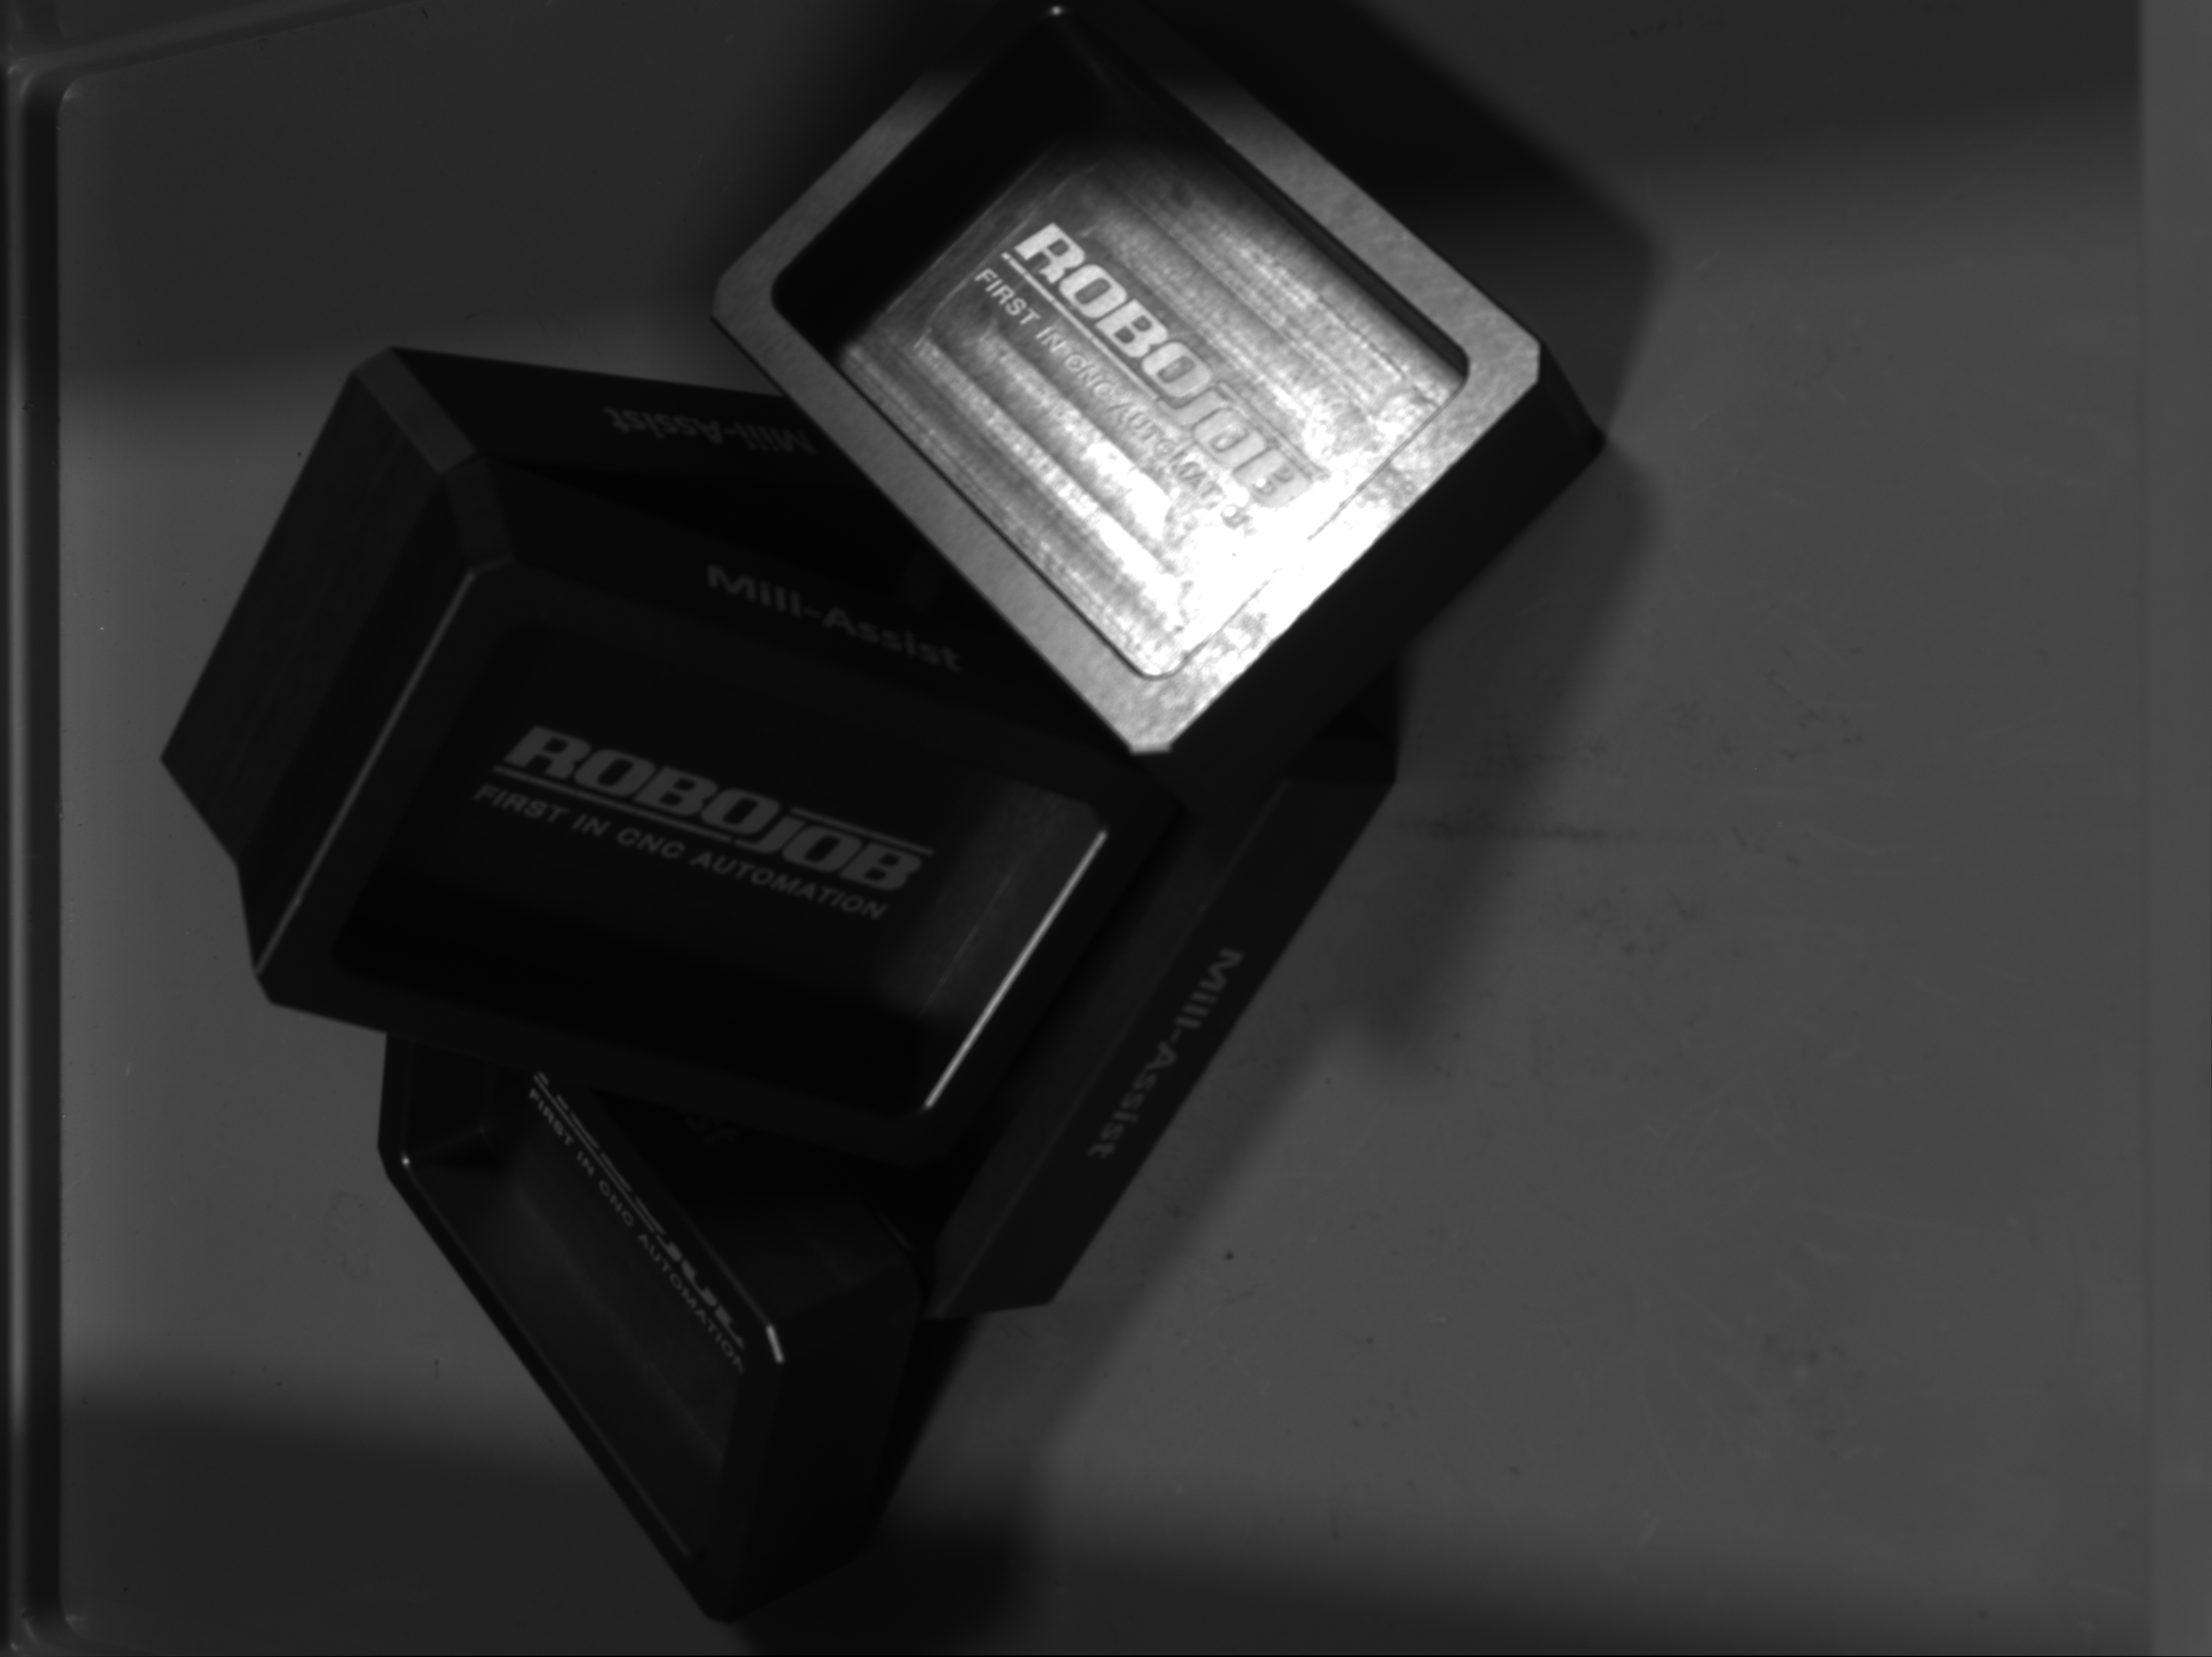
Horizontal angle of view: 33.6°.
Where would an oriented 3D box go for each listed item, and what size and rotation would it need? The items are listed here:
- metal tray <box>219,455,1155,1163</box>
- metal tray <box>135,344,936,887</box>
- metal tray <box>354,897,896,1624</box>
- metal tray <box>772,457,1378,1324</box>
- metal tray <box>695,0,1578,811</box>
[{"bbox_3d":[-0.068,0.001,0.607,0.090,0.130,0.030,-57,34,24],"label":"metal tray"},{"bbox_3d":[-0.093,-0.033,0.642,0.030,0.130,0.090,48,118,30],"label":"metal tray"},{"bbox_3d":[-0.094,0.072,0.686,0.130,0.030,0.090,47,142,29],"label":"metal tray"},{"bbox_3d":[-0.020,0.011,0.647,0.090,0.030,0.130,46,117,30],"label":"metal tray"},{"bbox_3d":[0.003,-0.077,0.607,0.090,0.030,0.130,-44,60,1],"label":"metal tray"}]
